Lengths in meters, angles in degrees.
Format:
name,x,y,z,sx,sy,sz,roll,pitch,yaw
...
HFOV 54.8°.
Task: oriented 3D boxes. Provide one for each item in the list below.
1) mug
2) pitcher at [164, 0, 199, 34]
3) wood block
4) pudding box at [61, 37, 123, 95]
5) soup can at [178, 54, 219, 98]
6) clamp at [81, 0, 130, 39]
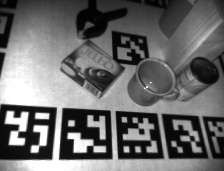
name,x,y,z,sx,sy,sz,roll,pitch,yaw
mug,0.101,-0.003,0.487,0.117,0.081,0.093,35,57,4
pitcher,0.241,-0.234,0.558,0.190,0.242,0.132,2,61,-13
wood block,0.219,-0.121,0.511,0.091,0.205,0.090,3,62,-19
pudding box,-0.044,-0.045,0.490,0.113,0.038,0.090,37,62,4
soup can,0.193,-0.019,0.511,0.068,0.102,0.067,7,64,-13
clamp,-0.032,-0.185,0.571,0.122,0.036,0.165,34,59,-7
